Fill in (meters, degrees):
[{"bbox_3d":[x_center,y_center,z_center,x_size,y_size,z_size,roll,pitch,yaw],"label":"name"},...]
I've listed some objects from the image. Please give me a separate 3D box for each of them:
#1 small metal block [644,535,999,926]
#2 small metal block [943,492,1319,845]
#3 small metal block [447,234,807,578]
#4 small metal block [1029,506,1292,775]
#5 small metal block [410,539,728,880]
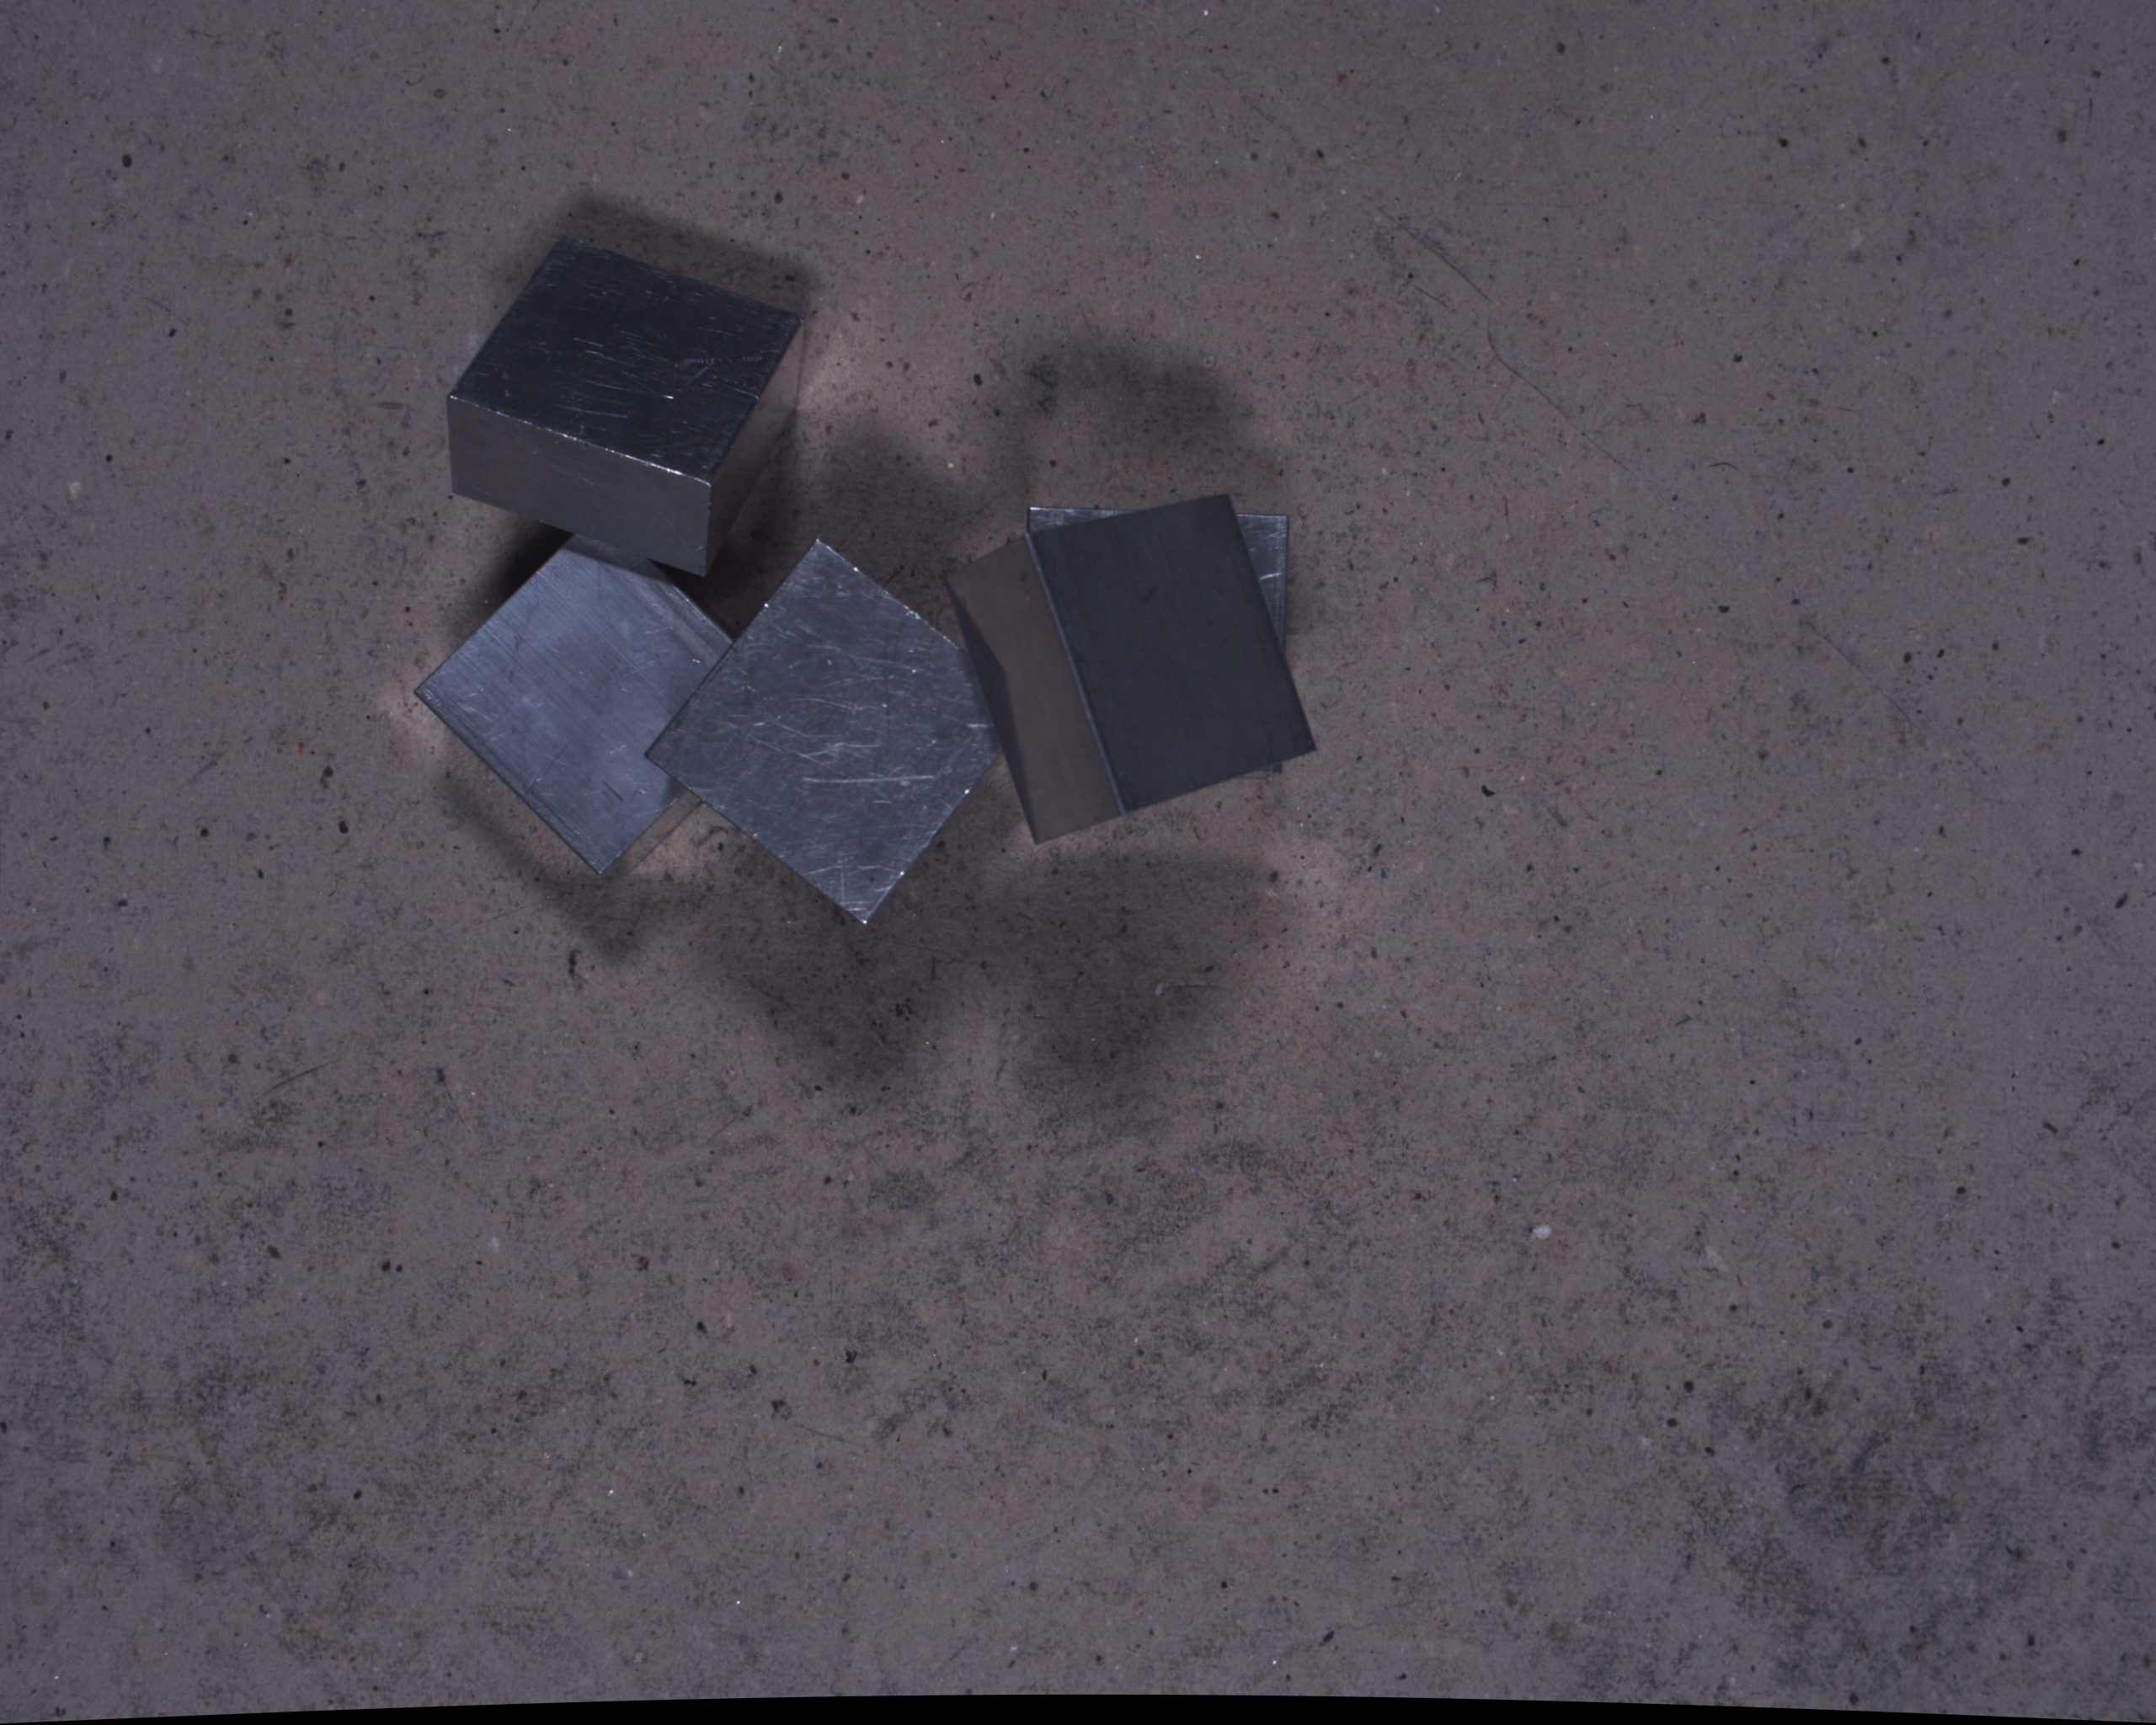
[{"bbox_3d":[-0.042,-0.024,0.384,0.050,0.025,0.050,38,90,-1],"label":"small metal block"},{"bbox_3d":[0.010,-0.035,0.374,0.050,0.025,0.050,-19,90,-40],"label":"small metal block"},{"bbox_3d":[-0.085,-0.088,0.398,0.050,0.025,0.050,19,53,-1],"label":"small metal block"},{"bbox_3d":[0.015,-0.043,0.411,0.050,0.025,0.050,2,90,-1],"label":"small metal block"},{"bbox_3d":[-0.092,-0.032,0.409,0.050,0.025,0.050,-45,91,0],"label":"small metal block"}]
